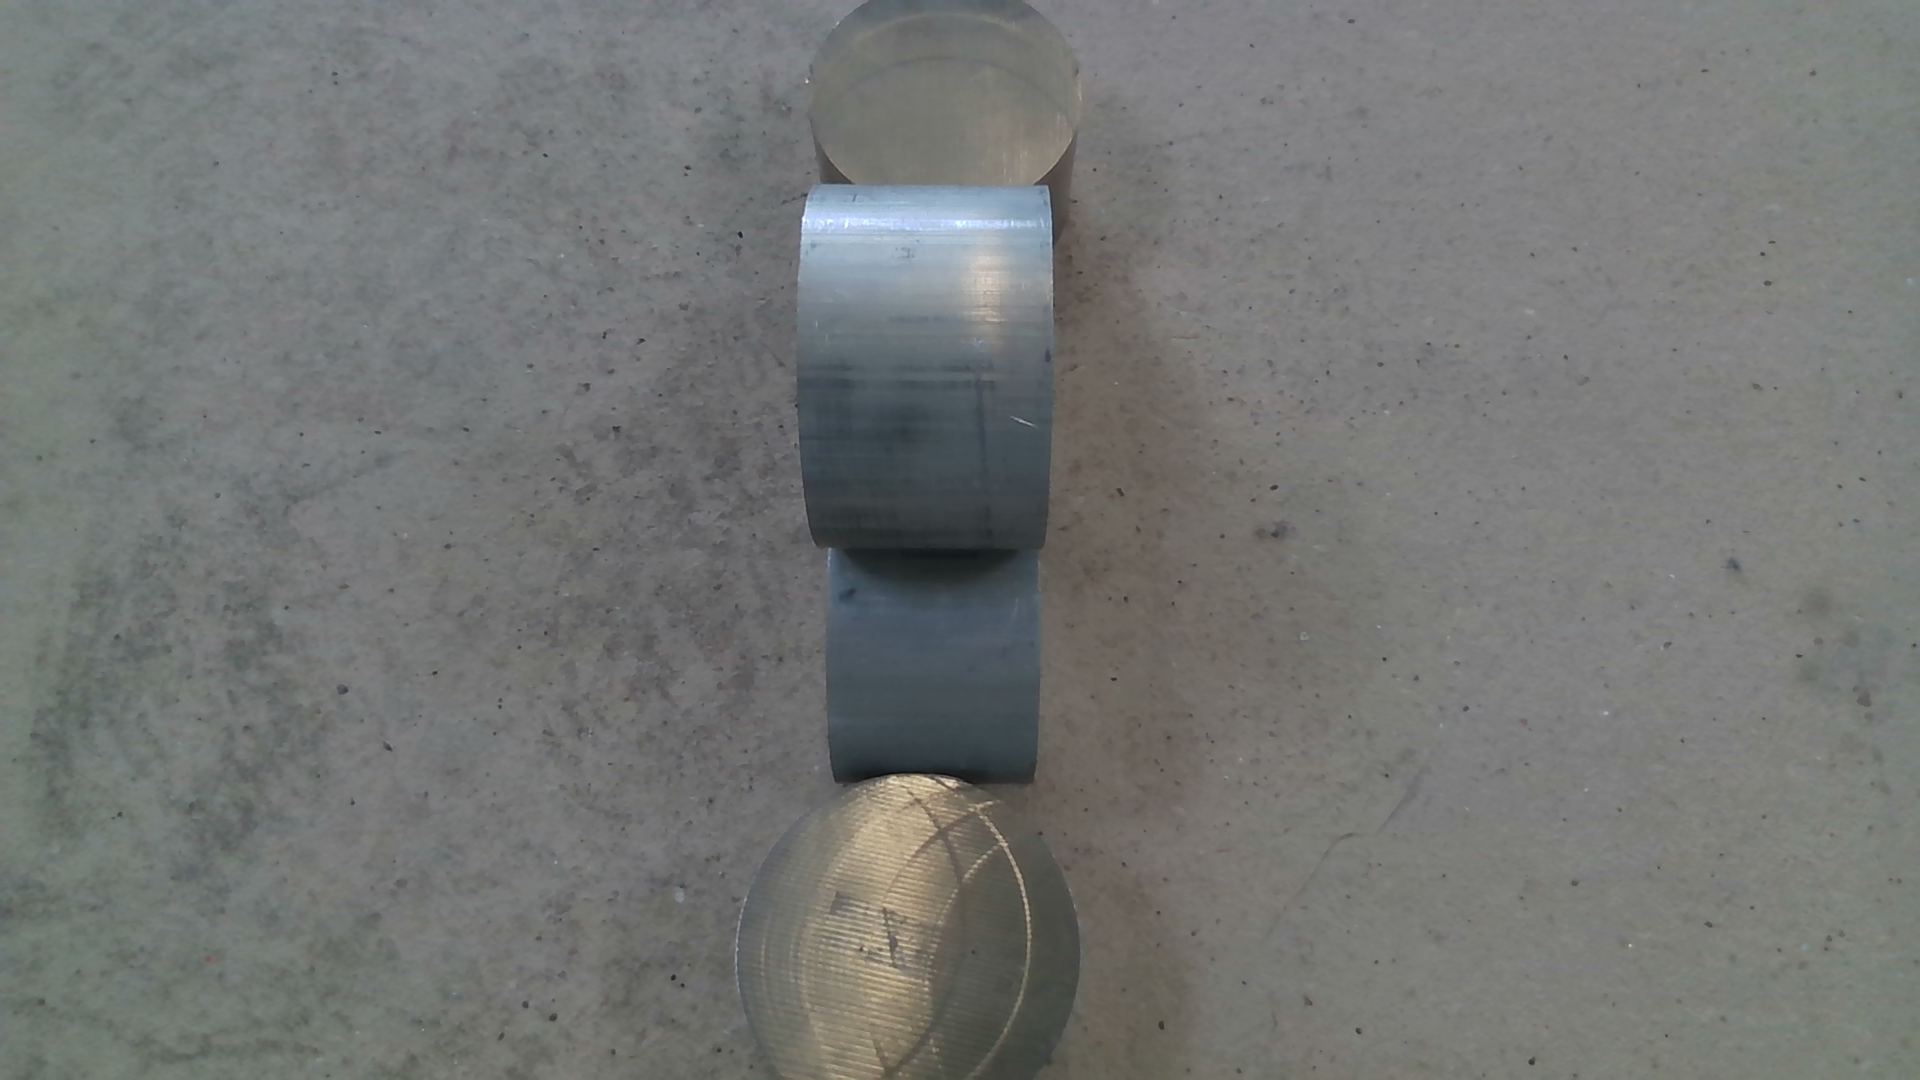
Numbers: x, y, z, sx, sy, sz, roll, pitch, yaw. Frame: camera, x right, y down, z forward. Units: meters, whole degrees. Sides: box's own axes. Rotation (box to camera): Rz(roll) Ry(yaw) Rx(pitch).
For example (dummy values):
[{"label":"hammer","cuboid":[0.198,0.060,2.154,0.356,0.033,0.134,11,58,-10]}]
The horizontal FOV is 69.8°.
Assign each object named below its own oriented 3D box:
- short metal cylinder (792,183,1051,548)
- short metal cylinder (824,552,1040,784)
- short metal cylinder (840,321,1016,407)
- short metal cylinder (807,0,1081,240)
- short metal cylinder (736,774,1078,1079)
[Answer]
[{"label":"short metal cylinder","cuboid":[-0.007,-0.038,0.306,0.050,0.080,0.080,0,70,1]},{"label":"short metal cylinder","cuboid":[-0.007,0.023,0.359,0.050,0.080,0.080,0,70,-1]},{"label":"short metal cylinder","cuboid":[-0.006,-0.052,0.385,0.050,0.080,0.080,0,70,0]},{"label":"short metal cylinder","cuboid":[-0.005,-0.122,0.426,0.080,0.050,0.080,0,71,0]},{"label":"short metal cylinder","cuboid":[-0.012,0.103,0.346,0.080,0.050,0.080,0,71,0]}]
